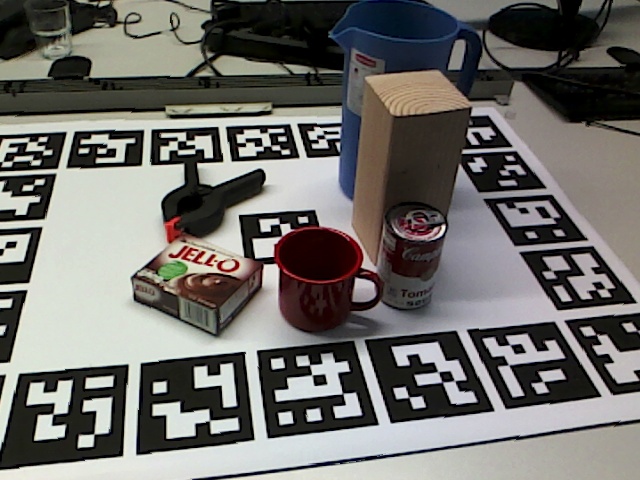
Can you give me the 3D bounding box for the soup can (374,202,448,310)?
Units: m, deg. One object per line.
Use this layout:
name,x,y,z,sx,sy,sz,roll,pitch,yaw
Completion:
soup can,0.096,0.019,0.674,0.068,0.102,0.068,2,42,-2

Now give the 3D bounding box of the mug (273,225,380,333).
mug,0.007,0.047,0.652,0.118,0.081,0.093,18,39,20

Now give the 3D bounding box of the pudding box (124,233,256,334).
pudding box,-0.141,0.045,0.682,0.114,0.038,0.090,20,45,21

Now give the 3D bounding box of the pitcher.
pitcher,0.104,-0.170,0.799,0.188,0.242,0.134,-7,38,-8

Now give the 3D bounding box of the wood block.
wood block,0.100,-0.080,0.712,0.089,0.206,0.091,-3,39,-14

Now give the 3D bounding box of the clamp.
clamp,-0.148,-0.054,0.811,0.122,0.036,0.165,20,42,9
